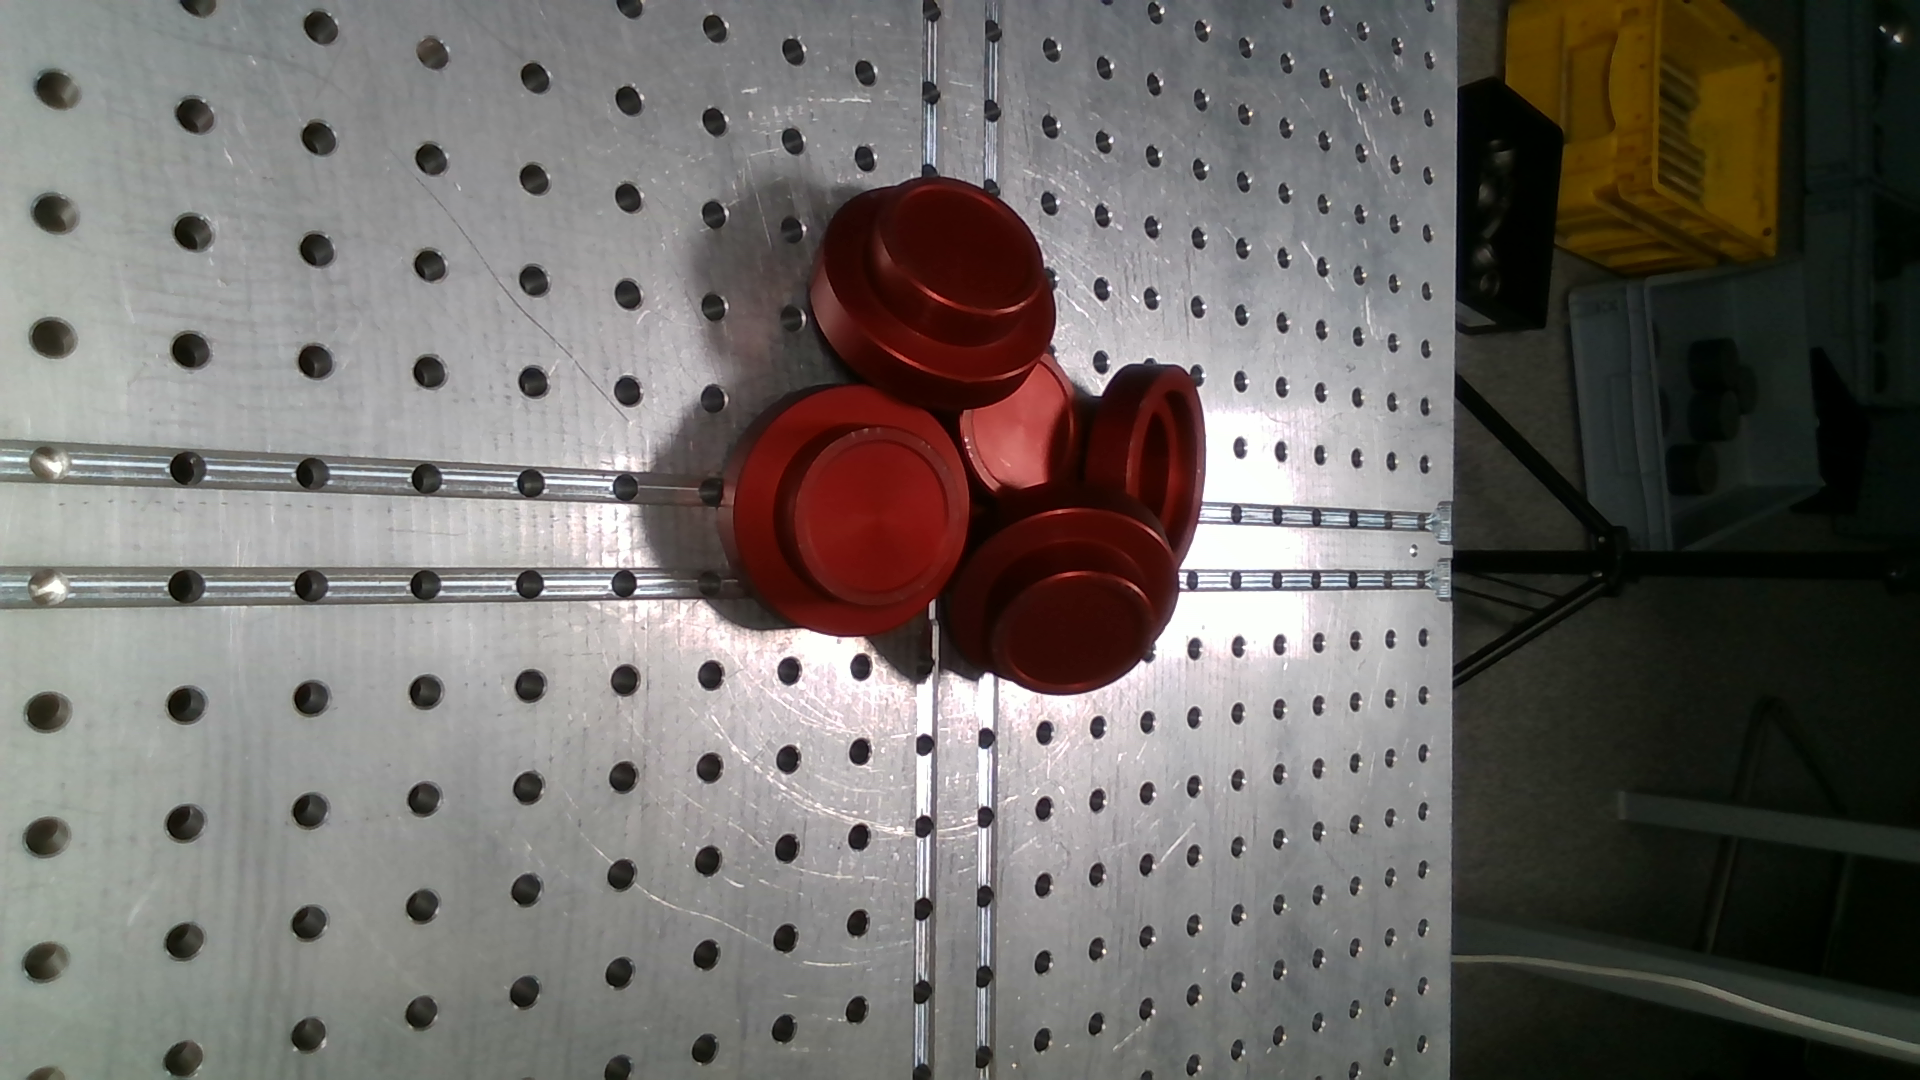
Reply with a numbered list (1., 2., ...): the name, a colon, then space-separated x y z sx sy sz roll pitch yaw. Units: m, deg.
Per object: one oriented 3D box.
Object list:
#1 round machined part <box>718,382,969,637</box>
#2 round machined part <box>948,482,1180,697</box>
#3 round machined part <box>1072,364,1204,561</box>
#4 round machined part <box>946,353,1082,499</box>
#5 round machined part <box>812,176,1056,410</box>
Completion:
1. round machined part: -0.039 -0.011 0.526 0.098 0.042 0.098 -4 98 -28
2. round machined part: 0.044 0.027 0.574 0.098 0.098 0.042 41 24 -32
3. round machined part: 0.076 -0.031 0.624 0.098 0.042 0.098 -17 110 -59
4. round machined part: 0.013 -0.049 0.585 0.098 0.042 0.098 0 90 -40
5. round machined part: -0.006 -0.103 0.539 0.098 0.042 0.098 13 56 -19
